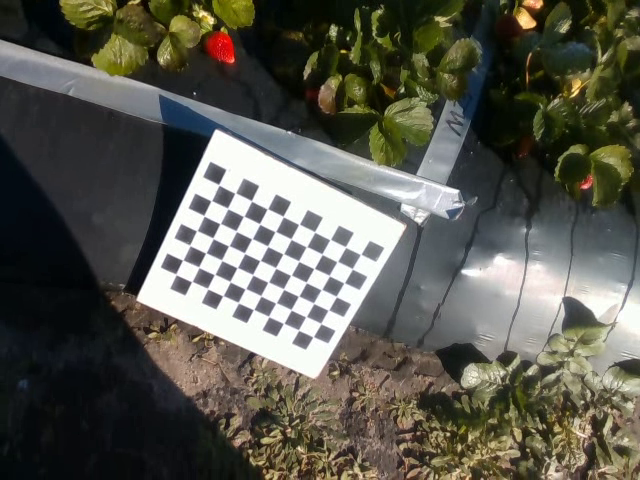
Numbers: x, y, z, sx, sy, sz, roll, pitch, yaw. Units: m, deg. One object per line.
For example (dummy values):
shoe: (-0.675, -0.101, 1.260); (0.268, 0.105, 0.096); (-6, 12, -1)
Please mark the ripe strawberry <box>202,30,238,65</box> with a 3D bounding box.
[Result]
ripe strawberry: (-0.136, -0.264, 0.817); (0.045, 0.059, 0.042); (-35, -3, 9)
